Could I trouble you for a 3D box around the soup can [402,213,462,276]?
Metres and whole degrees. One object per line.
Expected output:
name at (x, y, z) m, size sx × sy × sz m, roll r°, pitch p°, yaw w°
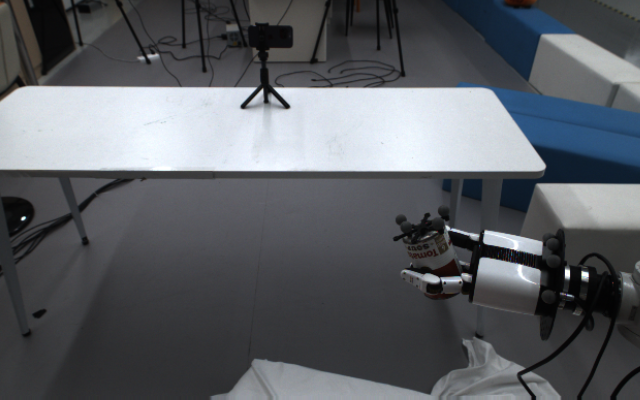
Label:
soup can at (0.174, 0.088, 0.727) m, size 0.067 × 0.101 × 0.067 m, roll -23°, pitch 16°, yaw 7°
